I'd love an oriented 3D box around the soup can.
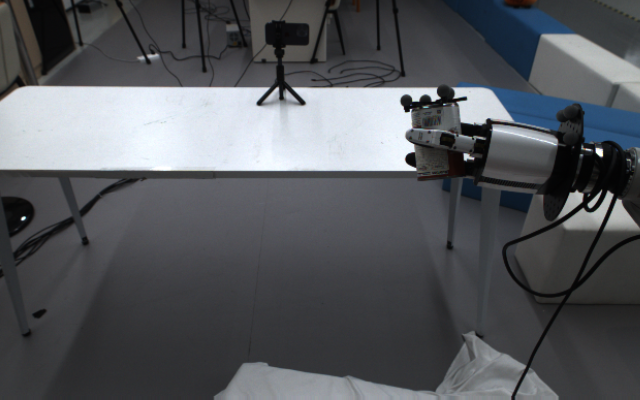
[{"bbox_3d":[0.168,-0.081,0.685,0.067,0.101,0.067,-6,3,0],"label":"soup can"}]
